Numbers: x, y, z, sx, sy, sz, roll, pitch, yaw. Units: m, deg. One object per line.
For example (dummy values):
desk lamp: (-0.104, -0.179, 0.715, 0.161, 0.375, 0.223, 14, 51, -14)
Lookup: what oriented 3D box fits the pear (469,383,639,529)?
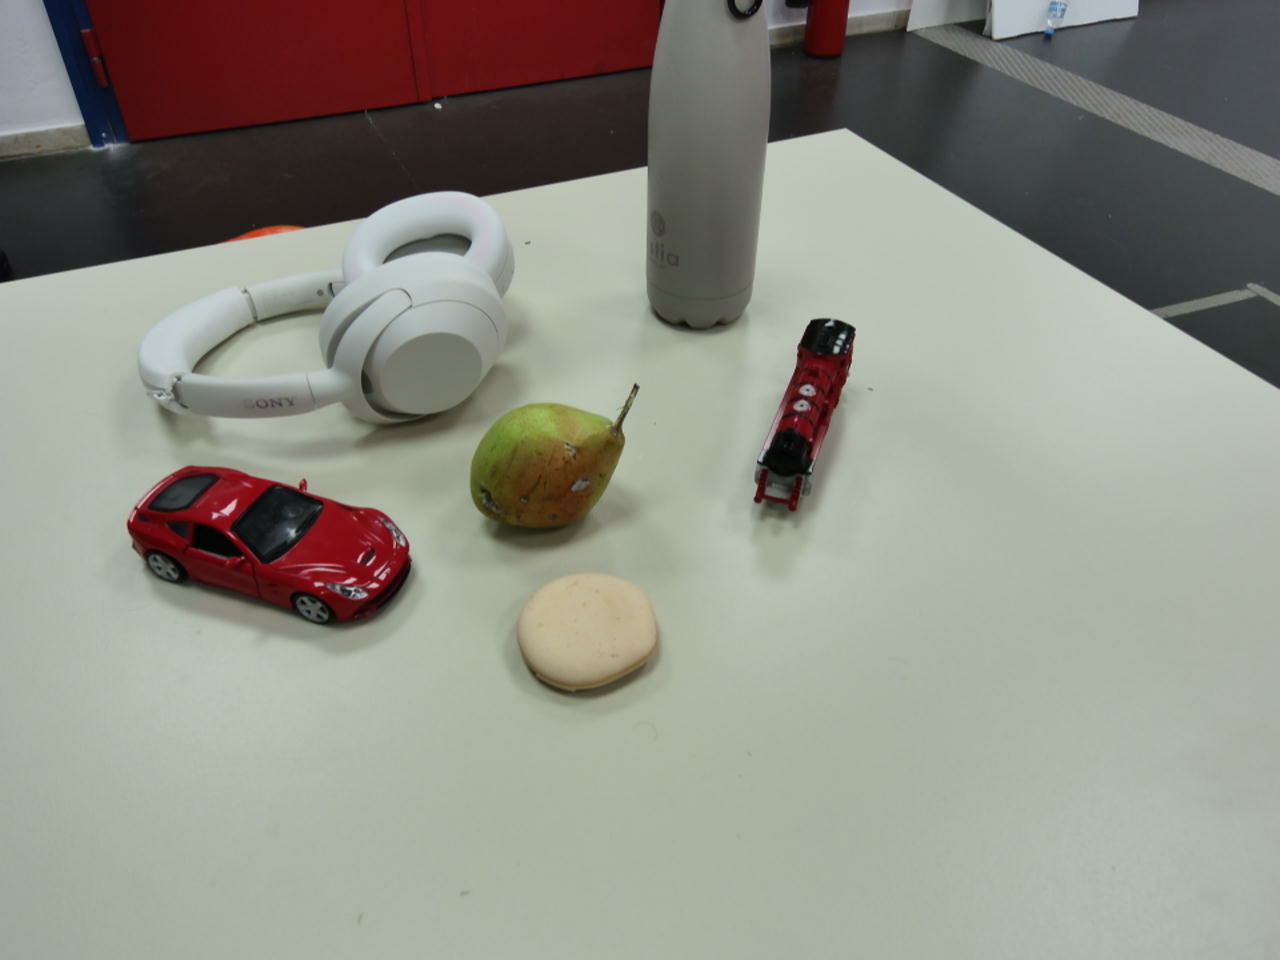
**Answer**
pear: (-0.046, -0.009, 0.492, 0.070, 0.069, 0.068, 16, 41, 20)
